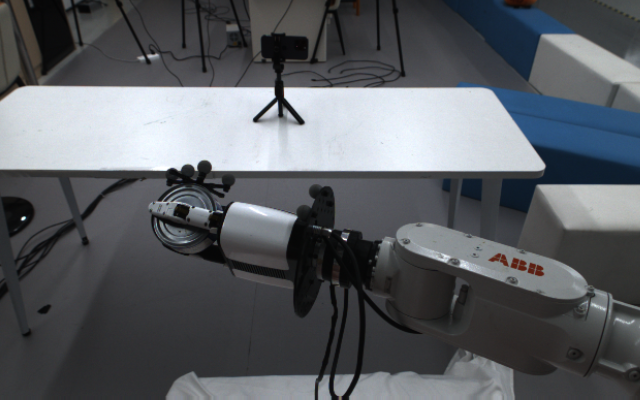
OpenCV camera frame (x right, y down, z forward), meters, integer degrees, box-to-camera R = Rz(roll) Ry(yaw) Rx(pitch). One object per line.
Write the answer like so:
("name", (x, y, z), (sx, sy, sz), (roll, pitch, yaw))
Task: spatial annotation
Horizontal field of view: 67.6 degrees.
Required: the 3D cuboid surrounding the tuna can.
("tuna can", (-0.166, 0.024, 0.616), (0.085, 0.034, 0.085), (-3, 68, 8))
